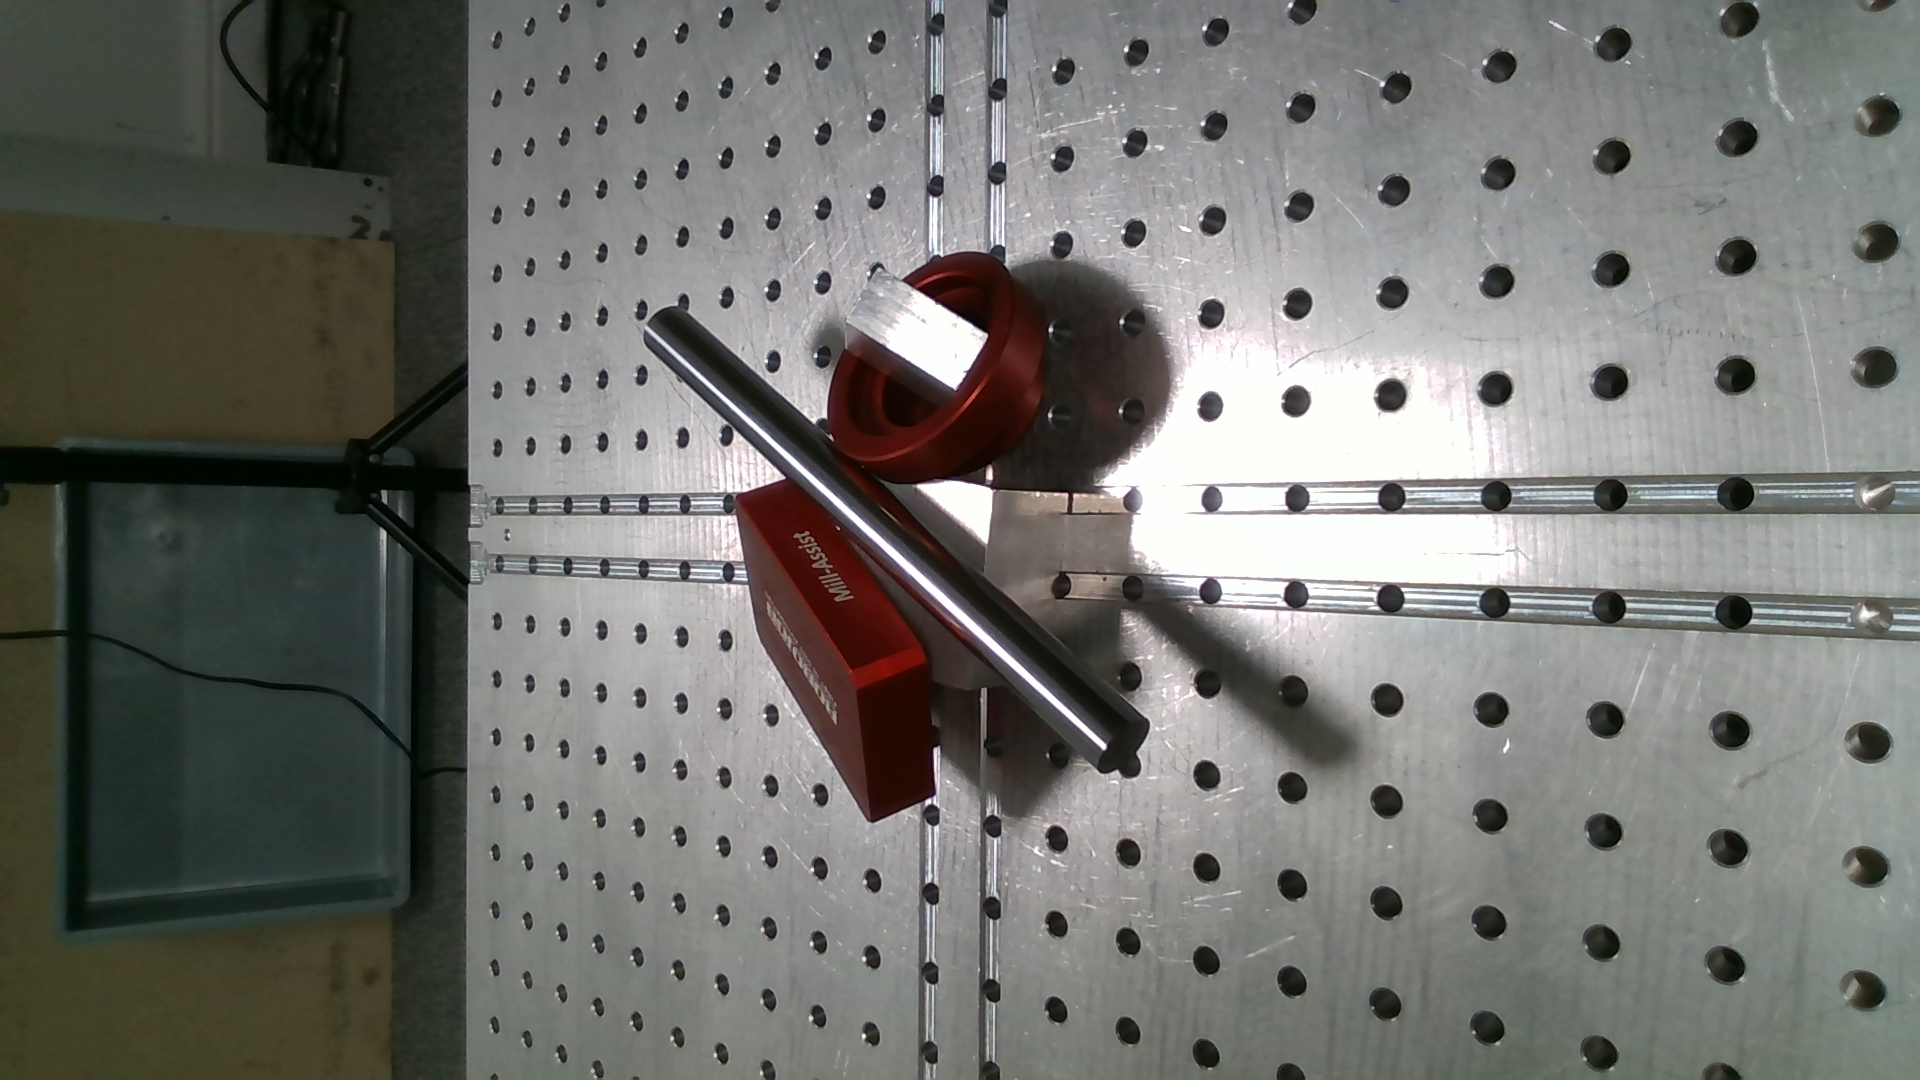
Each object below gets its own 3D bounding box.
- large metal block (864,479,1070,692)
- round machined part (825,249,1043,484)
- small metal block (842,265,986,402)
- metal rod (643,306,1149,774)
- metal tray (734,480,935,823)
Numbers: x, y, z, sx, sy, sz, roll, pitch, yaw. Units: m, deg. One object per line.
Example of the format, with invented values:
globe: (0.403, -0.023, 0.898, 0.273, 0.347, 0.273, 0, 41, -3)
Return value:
large metal block: (-0.006, 0.013, 0.573, 0.080, 0.050, 0.080, 12, 98, 40)
round machined part: (-0.006, -0.066, 0.561, 0.098, 0.042, 0.098, -23, 51, 32)
small metal block: (-0.019, -0.079, 0.547, 0.050, 0.050, 0.025, 32, 84, -2)
metal rod: (-0.039, -0.013, 0.552, 0.299, 0.025, 0.025, 41, 116, 32)
metal tray: (-0.055, 0.044, 0.584, 0.130, 0.030, 0.090, 51, 153, 43)
